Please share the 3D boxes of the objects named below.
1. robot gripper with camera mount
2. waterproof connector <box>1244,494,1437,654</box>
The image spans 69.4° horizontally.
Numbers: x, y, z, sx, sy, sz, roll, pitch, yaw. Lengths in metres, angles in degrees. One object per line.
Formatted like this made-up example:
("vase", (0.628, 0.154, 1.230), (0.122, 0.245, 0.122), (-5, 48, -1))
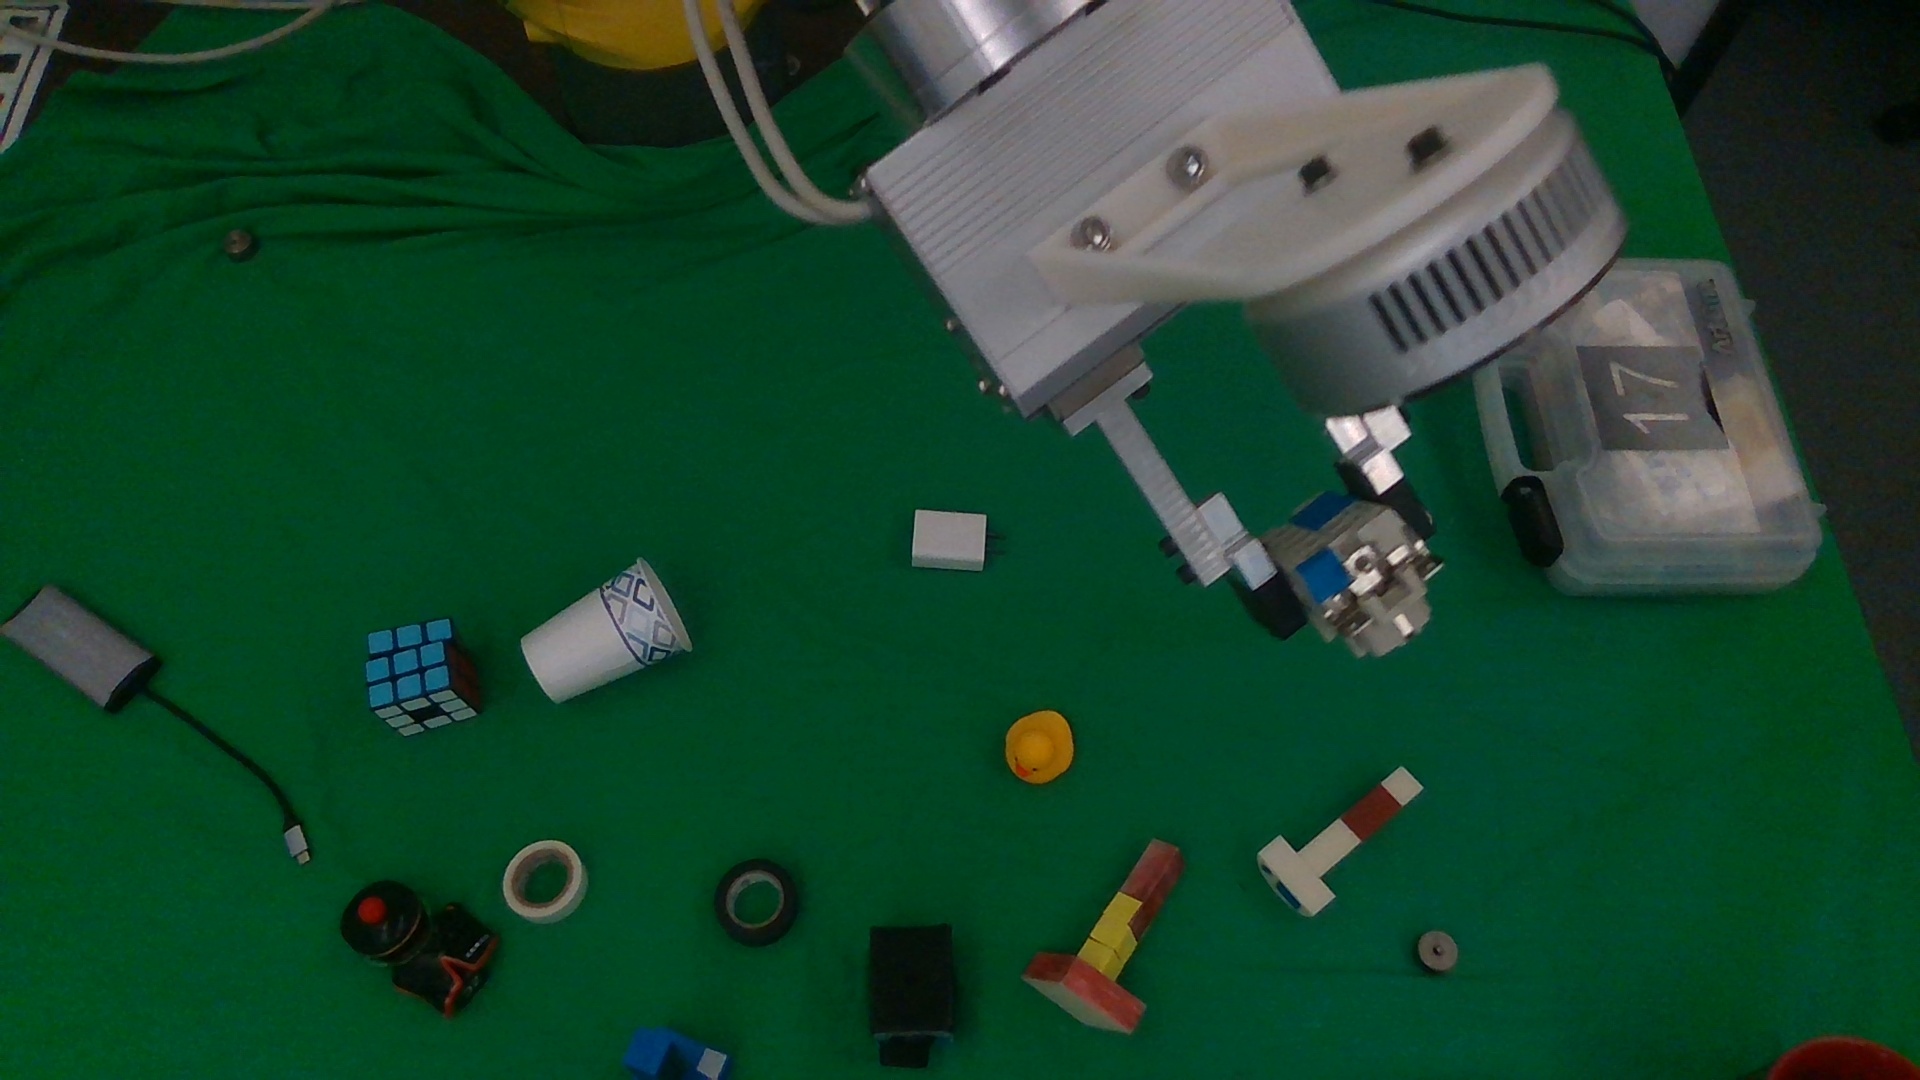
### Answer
("robot gripper with camera mount", (0.086, -0.041, 0.312), (0.119, 0.193, 0.158), (-35, 102, -4))
("waterproof connector", (0.113, 0.010, 0.408), (0.035, 0.065, 0.037), (-39, 99, -4))
